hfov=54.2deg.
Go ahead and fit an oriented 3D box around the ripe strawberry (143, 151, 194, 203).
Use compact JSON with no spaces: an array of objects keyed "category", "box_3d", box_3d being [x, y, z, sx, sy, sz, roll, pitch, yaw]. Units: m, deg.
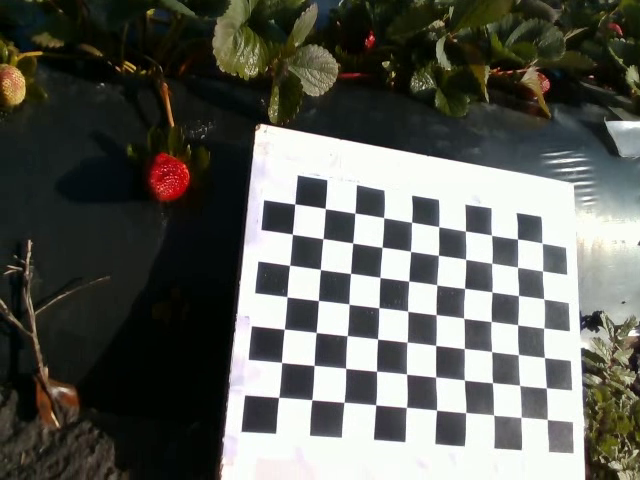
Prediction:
[{"category":"ripe strawberry","box_3d":[-0.041,-0.016,0.162,0.015,0.015,0.023,17,20,-13]}]
